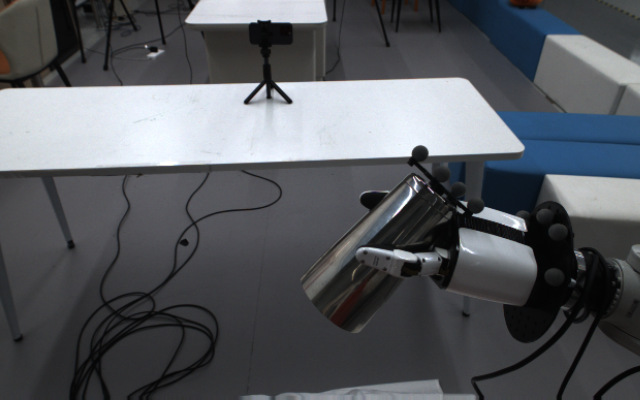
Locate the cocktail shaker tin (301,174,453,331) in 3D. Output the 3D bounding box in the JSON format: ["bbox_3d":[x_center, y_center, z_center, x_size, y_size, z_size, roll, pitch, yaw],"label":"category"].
[{"bbox_3d":[0.069,0.050,0.537,0.093,0.170,0.093,41,12,-11],"label":"cocktail shaker tin"}]
